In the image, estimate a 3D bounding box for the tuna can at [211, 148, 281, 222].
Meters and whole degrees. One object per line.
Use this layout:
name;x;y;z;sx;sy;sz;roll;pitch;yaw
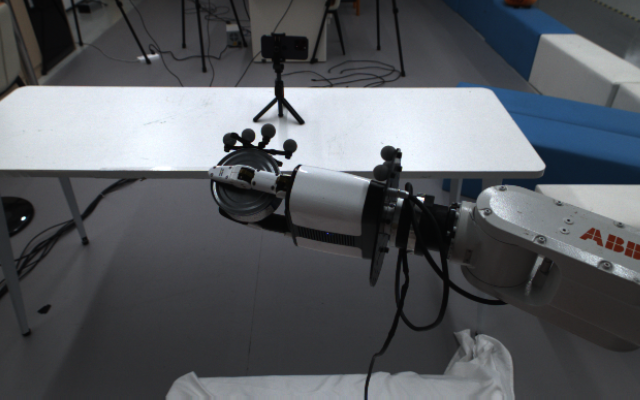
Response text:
tuna can;-0.086;-0.018;0.587;0.085;0.034;0.085;-3;69;8
